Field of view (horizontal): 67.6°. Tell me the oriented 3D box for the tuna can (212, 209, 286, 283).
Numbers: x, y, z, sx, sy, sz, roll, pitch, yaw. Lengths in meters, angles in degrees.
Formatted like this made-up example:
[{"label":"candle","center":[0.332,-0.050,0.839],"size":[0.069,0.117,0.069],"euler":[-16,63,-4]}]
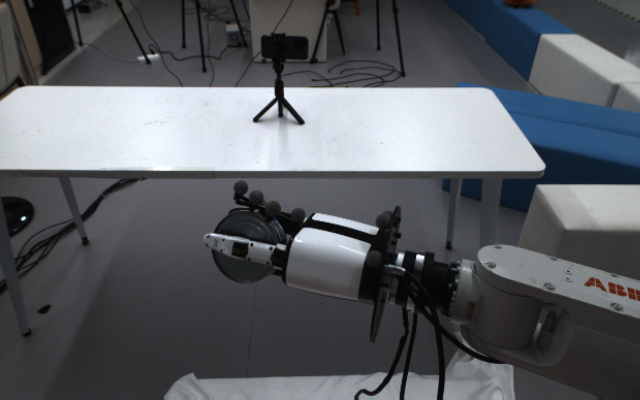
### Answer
[{"label":"tuna can","center":[-0.081,0.055,0.579],"size":[0.085,0.085,0.034],"euler":[13,2,16]}]
